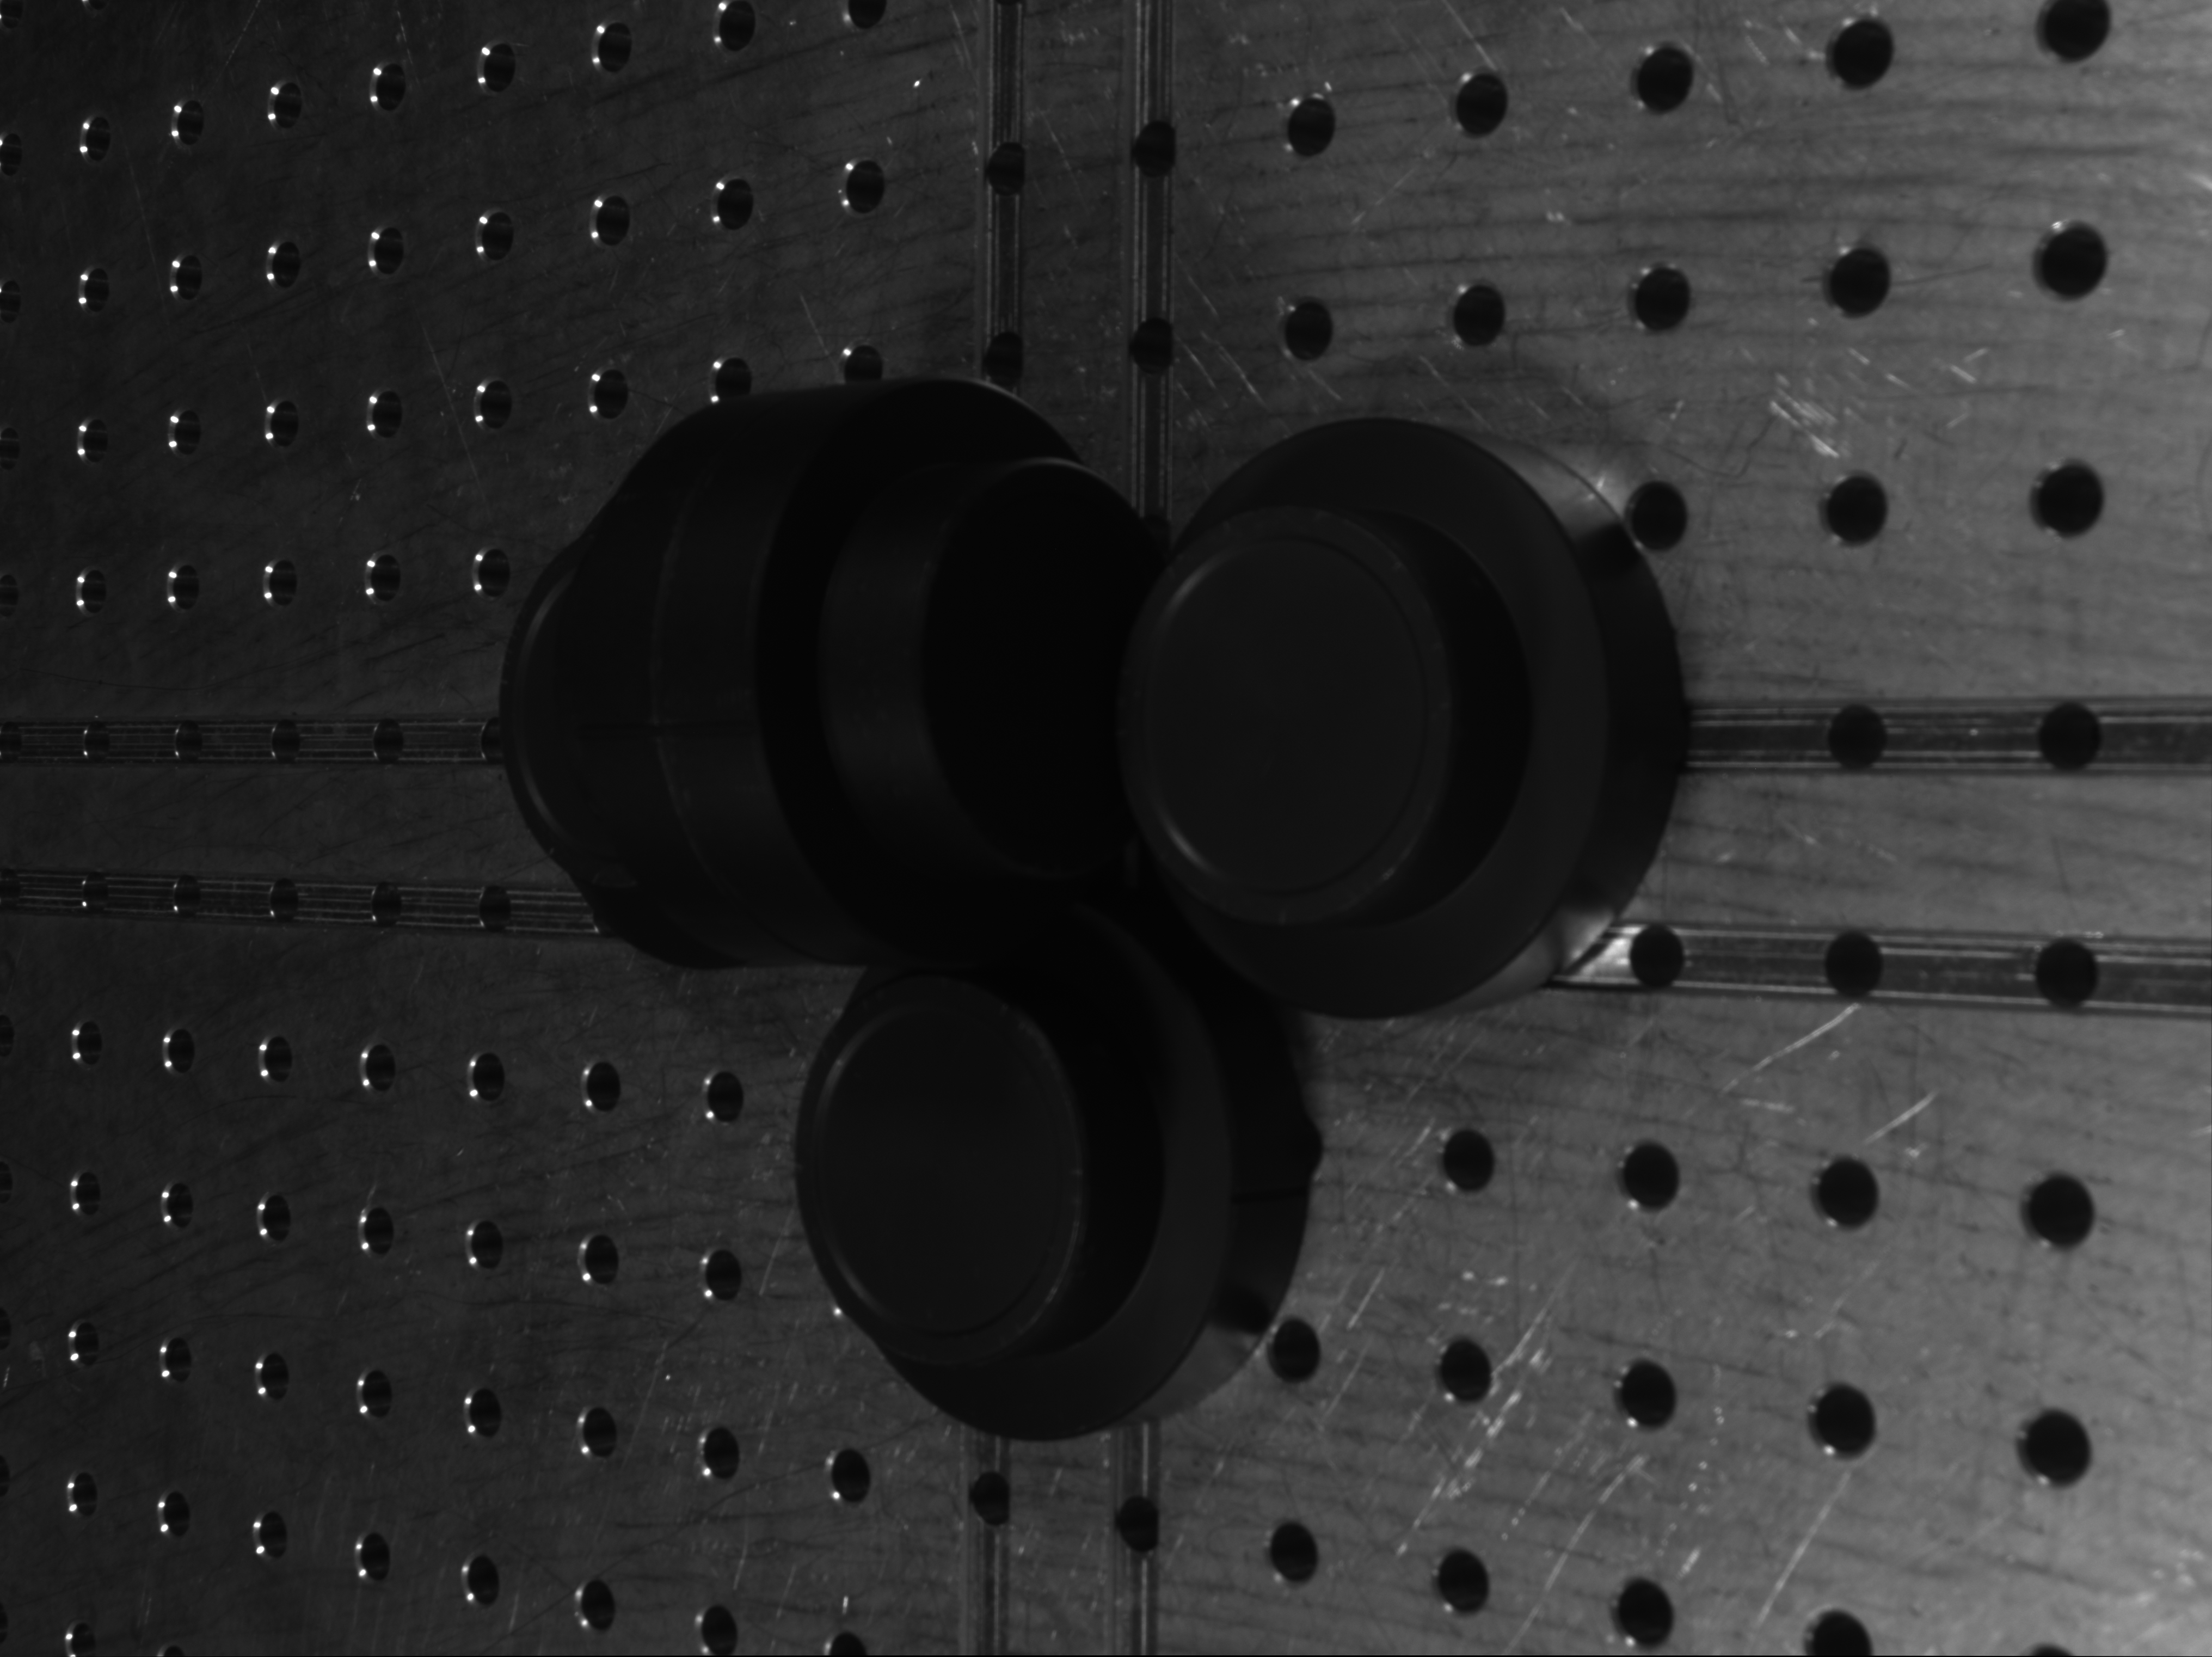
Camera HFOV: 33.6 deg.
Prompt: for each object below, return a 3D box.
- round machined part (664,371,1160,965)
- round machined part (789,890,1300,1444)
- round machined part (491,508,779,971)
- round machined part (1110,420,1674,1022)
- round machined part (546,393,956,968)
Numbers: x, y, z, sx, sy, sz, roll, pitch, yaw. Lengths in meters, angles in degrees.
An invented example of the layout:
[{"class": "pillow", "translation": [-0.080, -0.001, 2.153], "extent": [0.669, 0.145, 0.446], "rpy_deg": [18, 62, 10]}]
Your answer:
[{"class": "round machined part", "translation": [-0.023, -0.026, 0.604], "extent": [0.042, 0.098, 0.098], "rpy_deg": [-1, 89, 39]}, {"class": "round machined part", "translation": [-0.017, 0.059, 0.642], "extent": [0.098, 0.042, 0.098], "rpy_deg": [0, 90, 39]}, {"class": "round machined part", "translation": [-0.078, -0.022, 0.692], "extent": [0.098, 0.042, 0.098], "rpy_deg": [0, 90, 39]}, {"class": "round machined part", "translation": [0.039, -0.017, 0.595], "extent": [0.098, 0.042, 0.098], "rpy_deg": [0, 90, 39]}, {"class": "round machined part", "translation": [-0.057, -0.026, 0.631], "extent": [0.042, 0.098, 0.098], "rpy_deg": [2, 91, 39]}]
